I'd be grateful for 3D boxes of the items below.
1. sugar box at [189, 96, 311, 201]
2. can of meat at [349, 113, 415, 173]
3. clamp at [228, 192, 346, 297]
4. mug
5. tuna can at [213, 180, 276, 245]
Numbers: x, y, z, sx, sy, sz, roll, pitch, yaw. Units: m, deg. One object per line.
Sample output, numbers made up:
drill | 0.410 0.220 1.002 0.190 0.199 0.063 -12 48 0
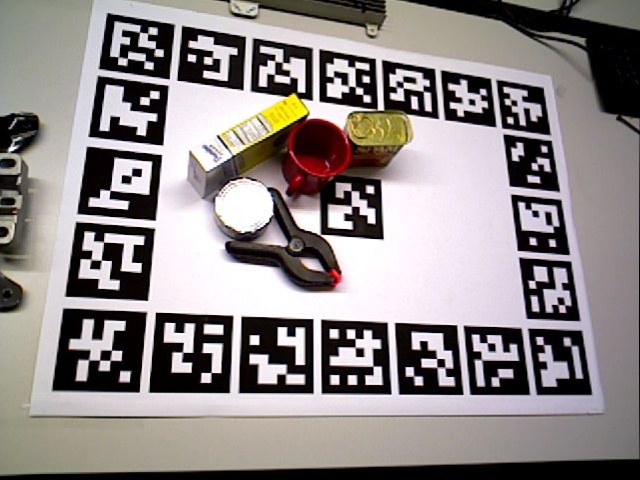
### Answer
sugar box | -0.097 -0.127 0.760 0.173 0.094 0.045 -34 83 -23
can of meat | 0.086 -0.143 0.819 0.100 0.085 0.057 -3 72 -18
clamp | -0.033 0.023 0.763 0.165 0.037 0.119 40 63 -5
mug | -0.007 -0.106 0.774 0.093 0.083 0.115 29 70 -6
tuna can | -0.106 -0.038 0.756 0.085 0.034 0.085 4 74 -14
